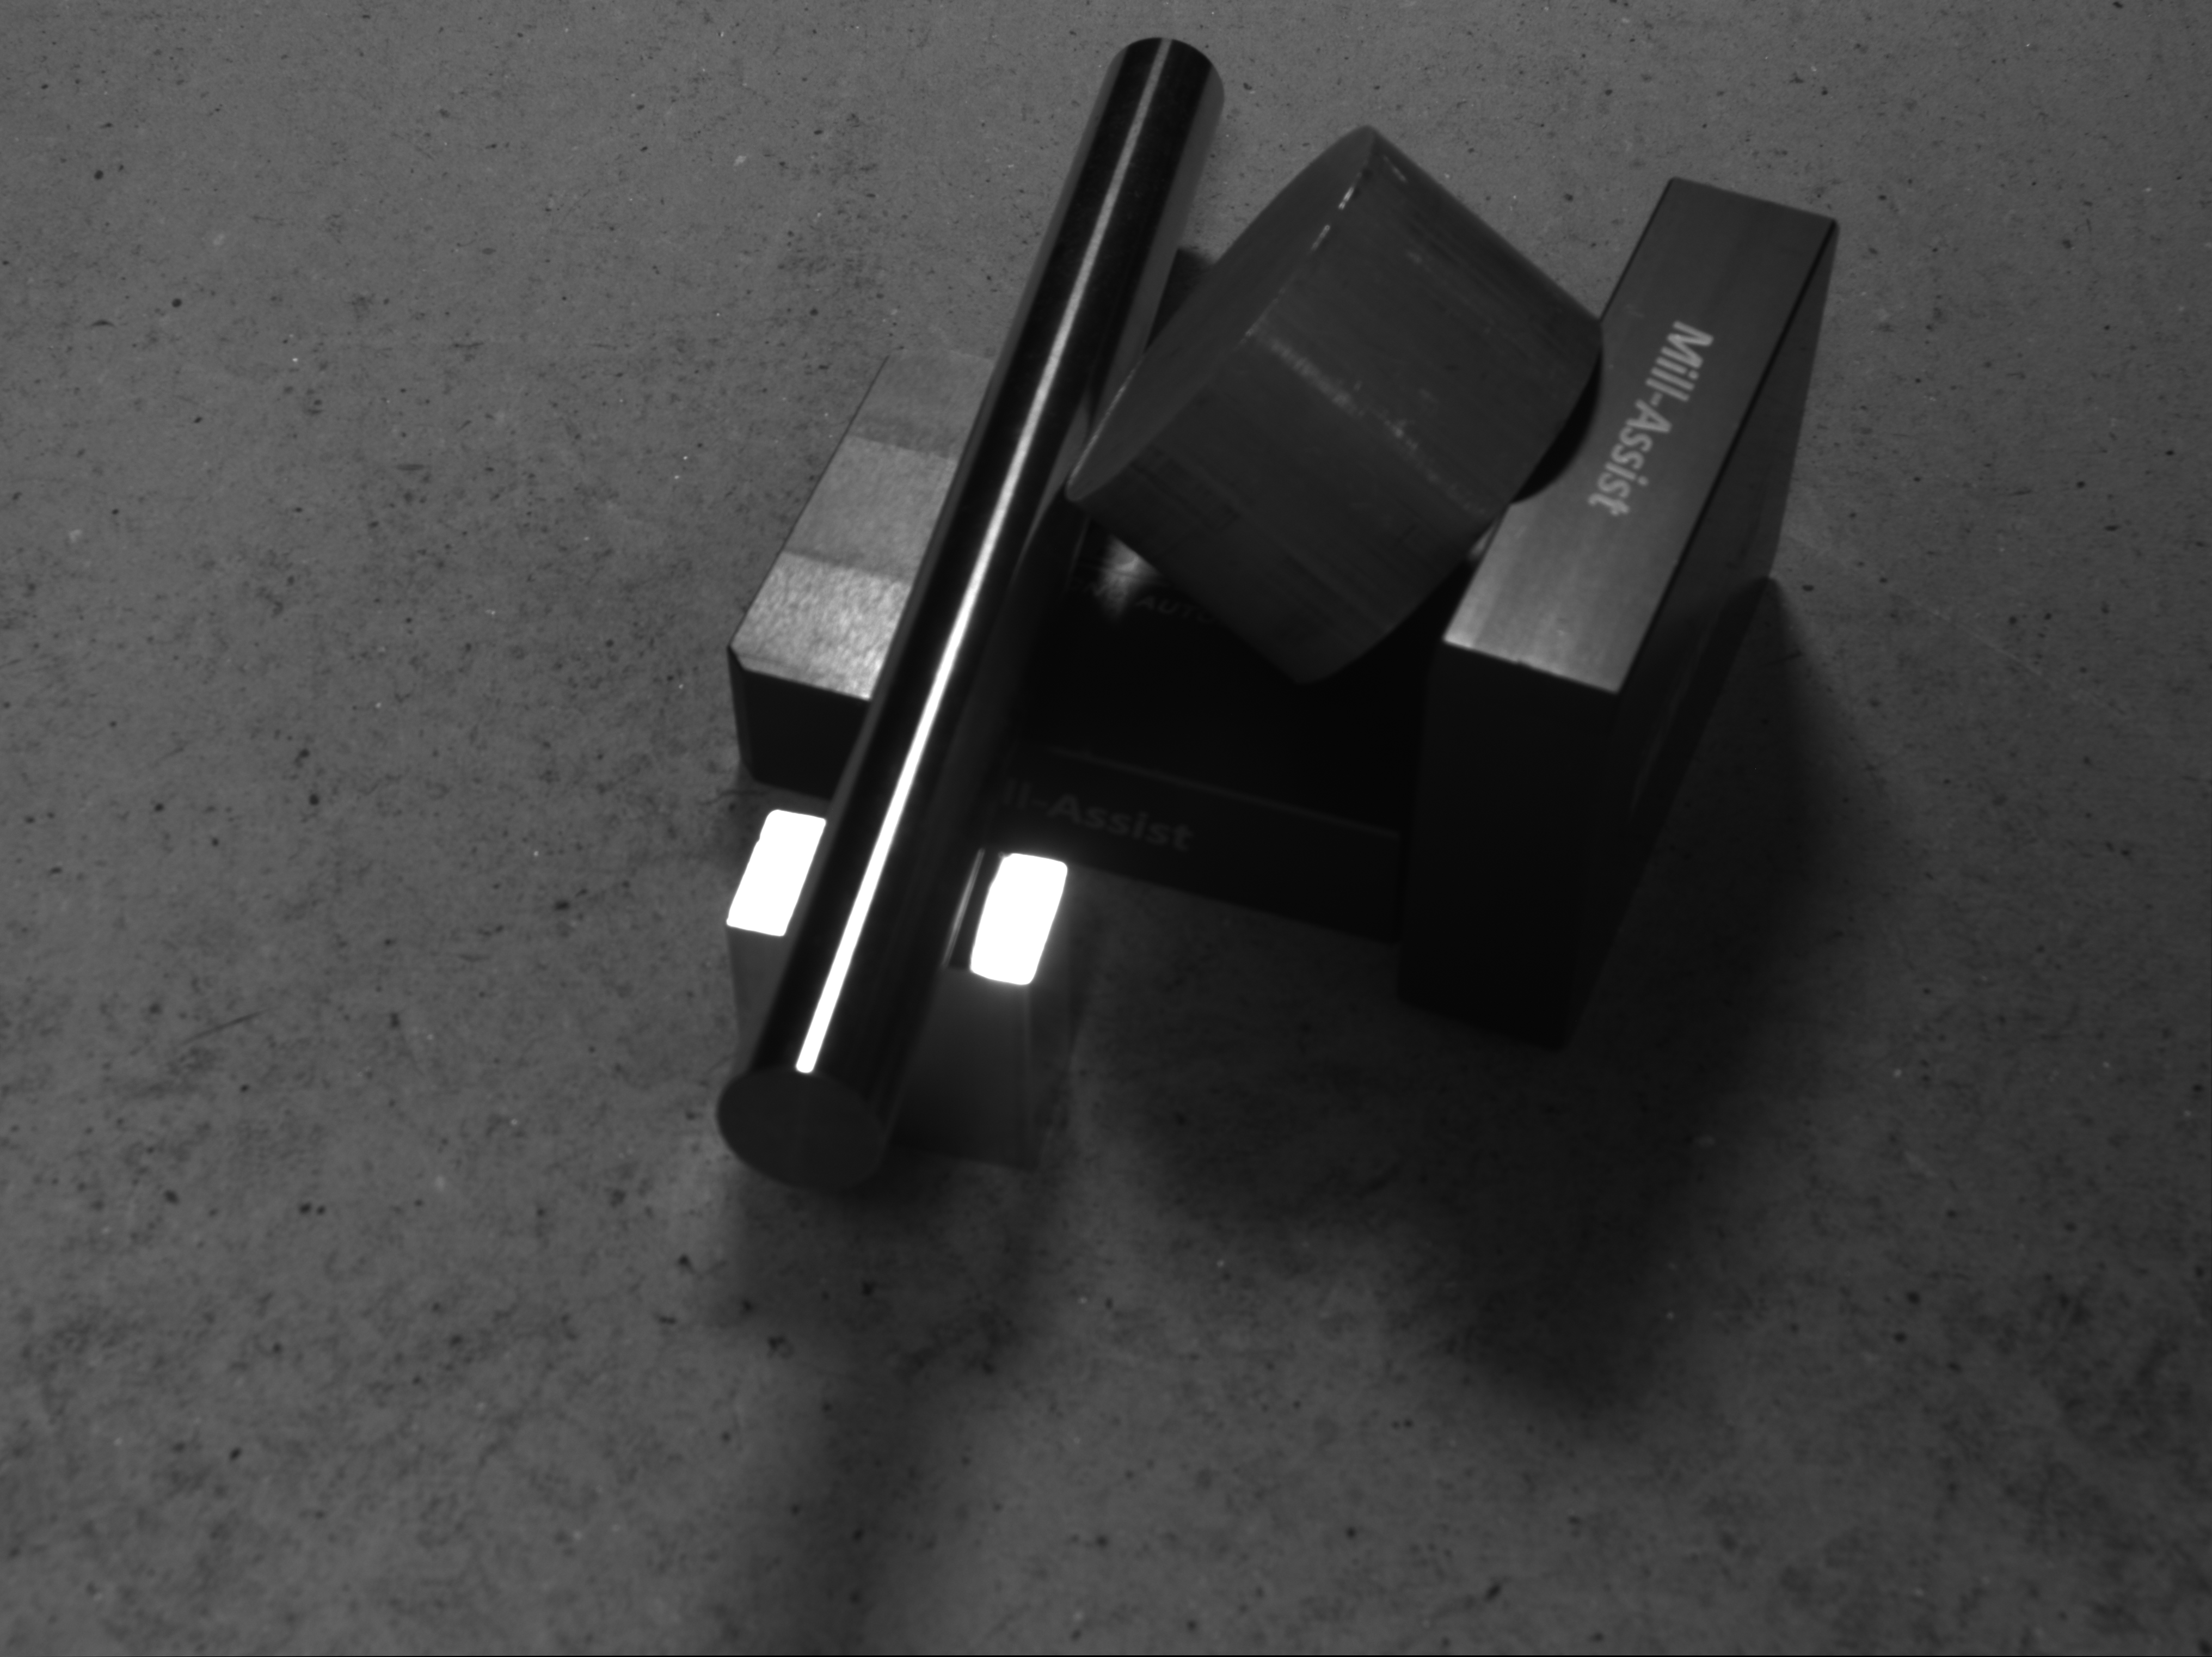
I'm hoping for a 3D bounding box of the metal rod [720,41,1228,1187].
[{"bbox_3d":[-0.015,-0.054,0.636,0.025,0.025,0.300,8,41,7],"label":"metal rod"}]

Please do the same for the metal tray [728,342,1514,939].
[{"bbox_3d":[0.008,-0.037,0.669,0.130,0.030,0.090,14,51,12],"label":"metal tray"}]

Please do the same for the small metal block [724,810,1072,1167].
[{"bbox_3d":[-0.033,0.027,0.603,0.050,0.050,0.025,10,51,8],"label":"small metal block"}]

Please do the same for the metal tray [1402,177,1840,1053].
[{"bbox_3d":[0.089,-0.038,0.632,0.030,0.090,0.130,18,52,15],"label":"metal tray"}]

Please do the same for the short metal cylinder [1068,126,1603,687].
[{"bbox_3d":[0.038,-0.071,0.618,0.050,0.080,0.080,38,53,-11],"label":"short metal cylinder"}]
